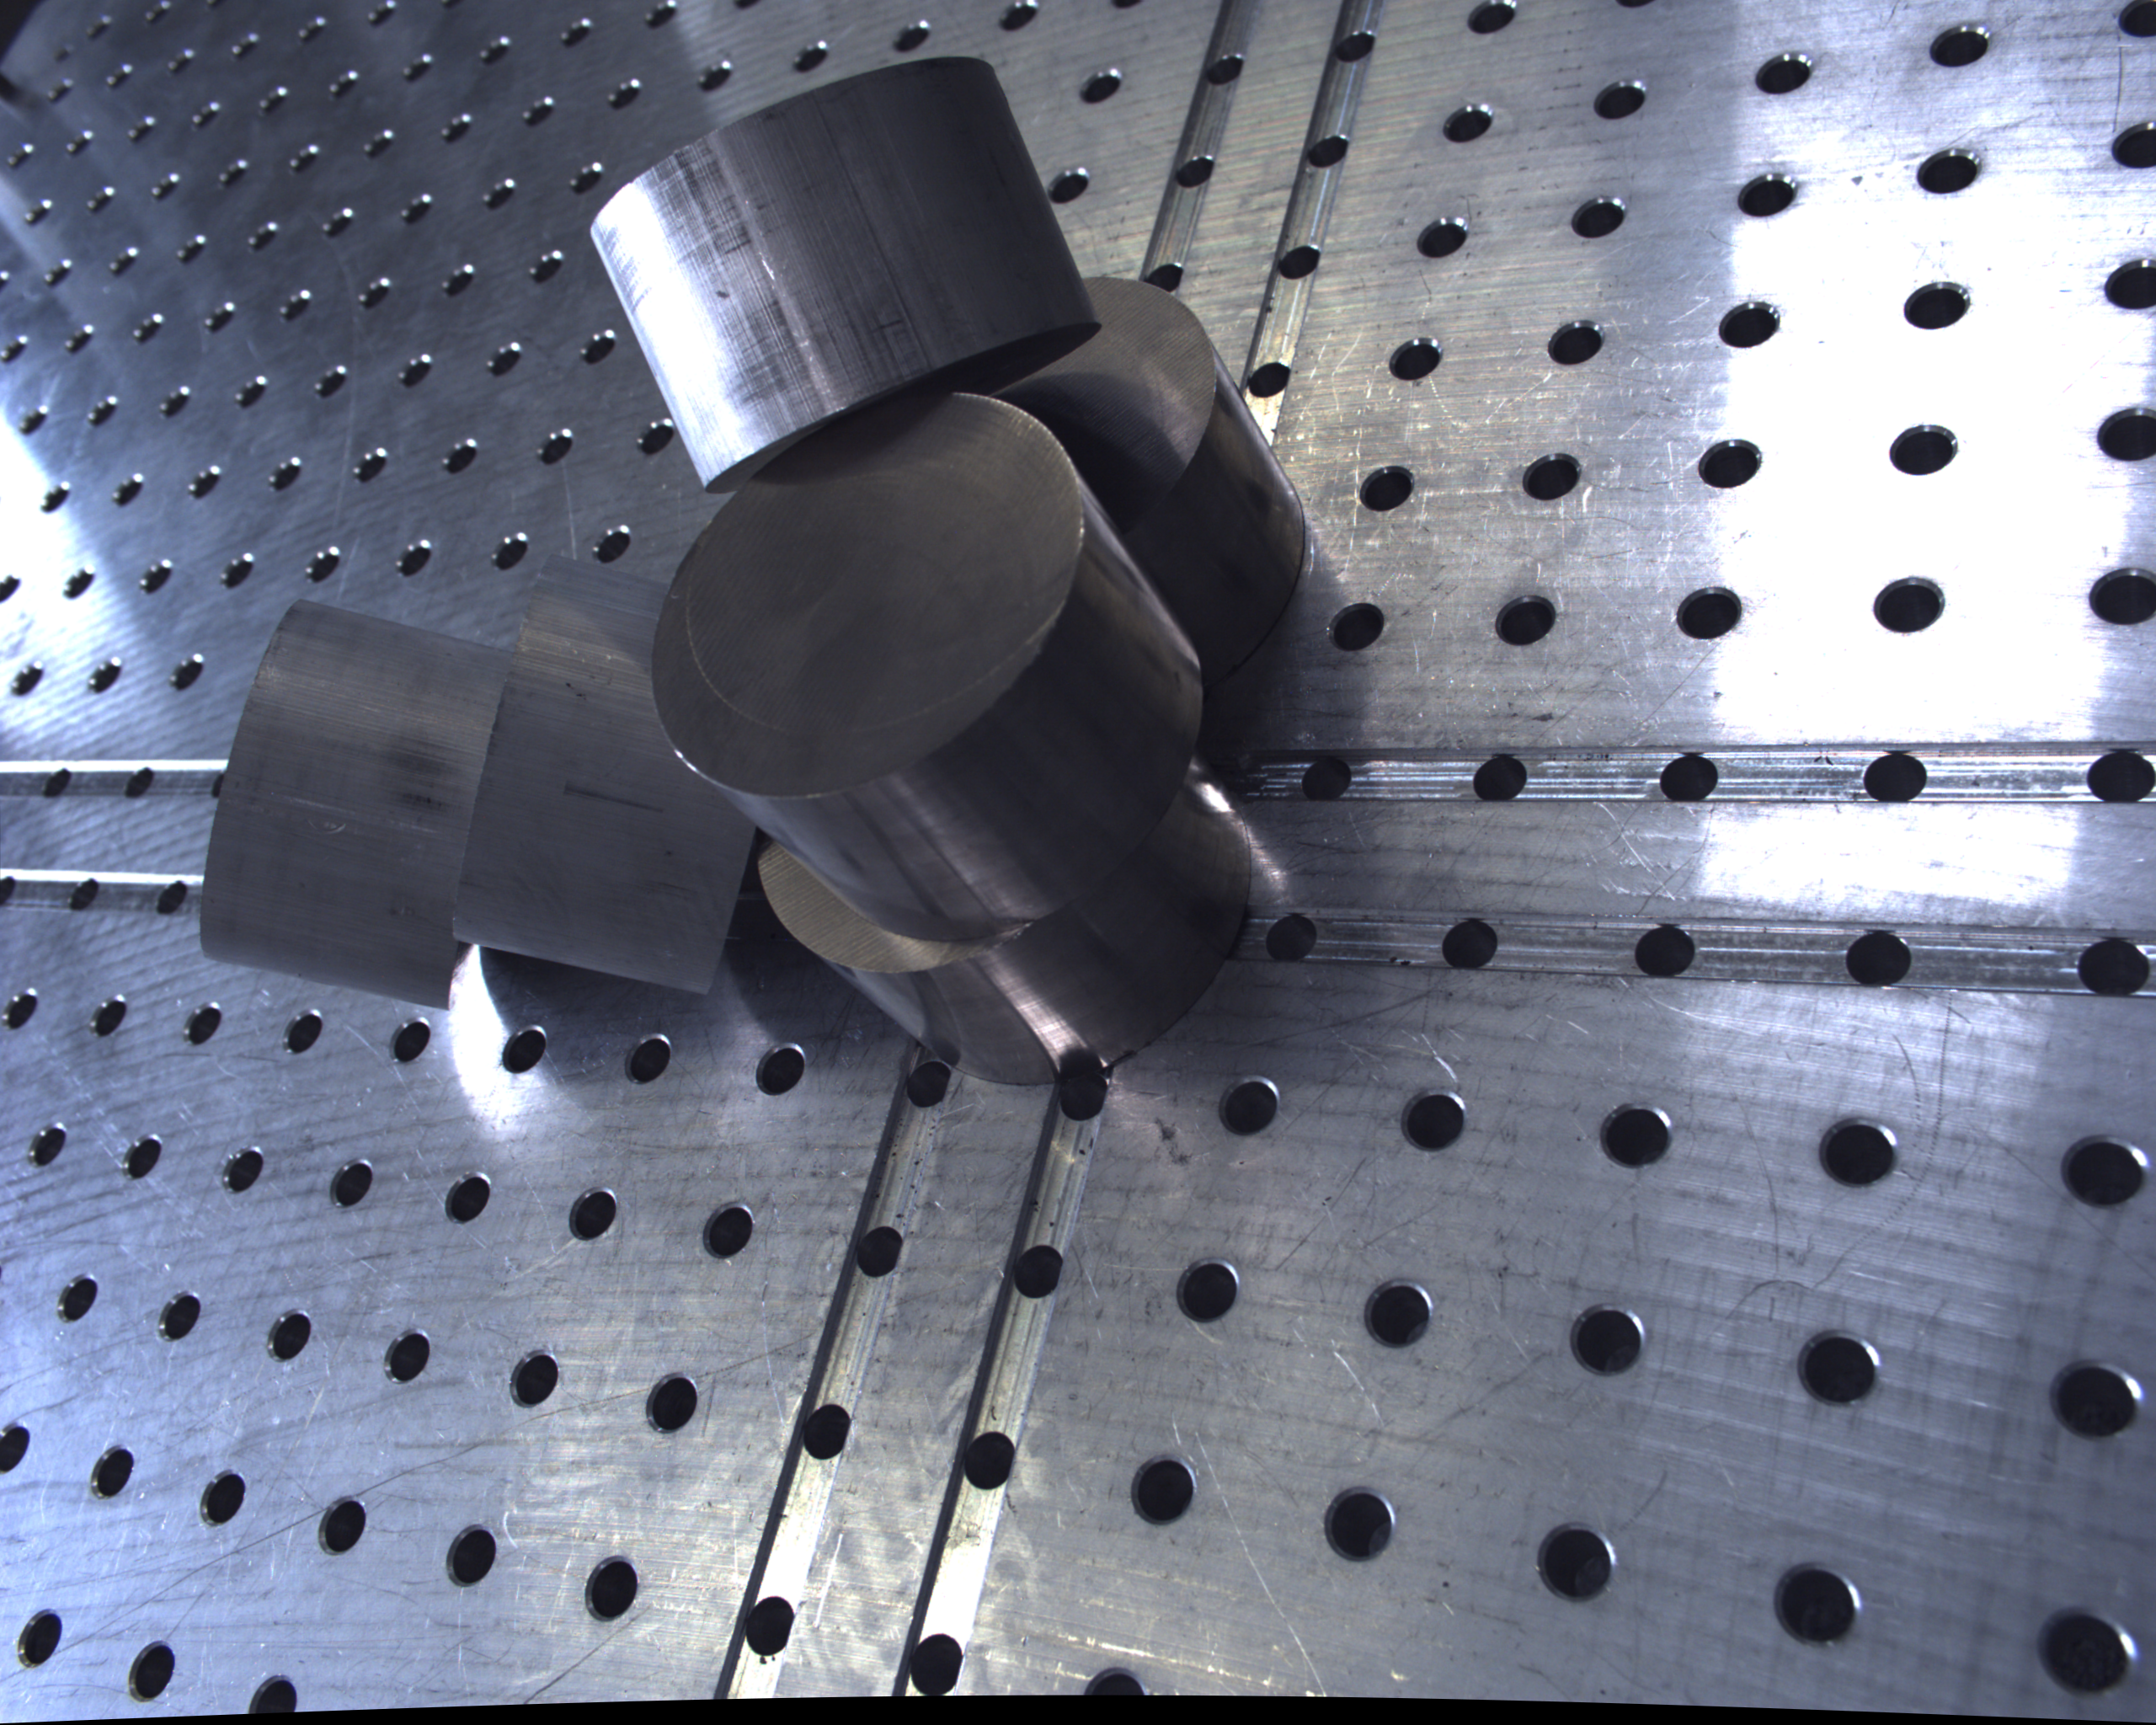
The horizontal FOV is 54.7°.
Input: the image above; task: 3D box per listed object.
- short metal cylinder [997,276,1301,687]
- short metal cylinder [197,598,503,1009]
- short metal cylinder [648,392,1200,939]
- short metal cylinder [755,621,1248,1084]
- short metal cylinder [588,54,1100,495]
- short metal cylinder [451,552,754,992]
[{"bbox_3d":[0.000,-0.075,0.437,0.080,0.050,0.080,-13,56,21],"label":"short metal cylinder"},{"bbox_3d":[-0.152,-0.013,0.452,0.050,0.080,0.080,14,61,-12],"label":"short metal cylinder"},{"bbox_3d":[-0.026,-0.034,0.360,0.080,0.050,0.080,-13,56,21],"label":"short metal cylinder"},{"bbox_3d":[-0.014,-0.004,0.401,0.080,0.050,0.080,-13,56,21],"label":"short metal cylinder"},{"bbox_3d":[-0.043,-0.107,0.388,0.080,0.080,0.050,-22,97,15],"label":"short metal cylinder"},{"bbox_3d":[-0.091,-0.018,0.422,0.050,0.080,0.080,14,61,-12],"label":"short metal cylinder"}]
